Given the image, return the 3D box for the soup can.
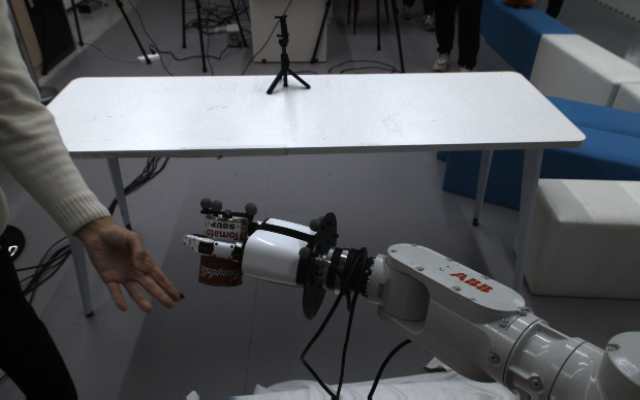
[{"bbox_3d":[-0.147,0.076,0.738,0.067,0.101,0.067,6,3,0],"label":"soup can"}]
